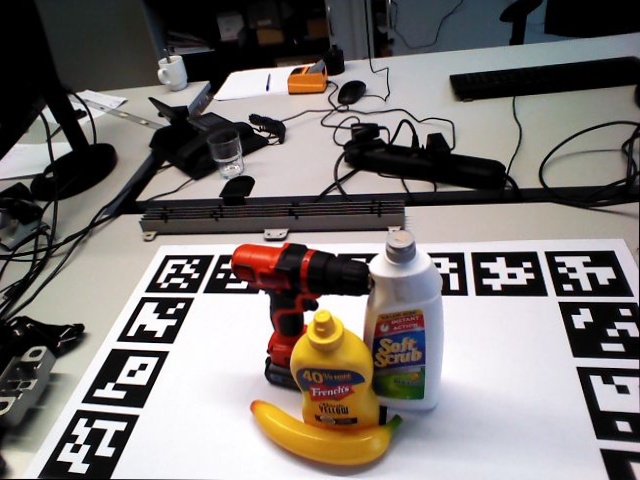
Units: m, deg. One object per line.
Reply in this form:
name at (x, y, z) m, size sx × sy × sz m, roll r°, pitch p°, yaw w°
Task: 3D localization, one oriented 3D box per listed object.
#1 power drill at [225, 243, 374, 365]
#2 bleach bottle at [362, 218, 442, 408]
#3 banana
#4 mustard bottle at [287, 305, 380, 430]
power drill at (-0.017, 0.084, 0.637) m, size 0.185 × 0.187 × 0.057 m, roll 9°, pitch 42°, yaw 22°
bleach bottle at (0.088, 0.088, 0.598) m, size 0.103 × 0.251 × 0.067 m, roll 1°, pitch 35°, yaw 16°
banana at (0.002, 0.229, 0.624) m, size 0.198 × 0.039 × 0.073 m, roll 1°, pitch 41°, yaw 19°
mustard bottle at (0.013, 0.144, 0.587) m, size 0.096 × 0.192 × 0.058 m, roll 0°, pitch 40°, yaw 13°
